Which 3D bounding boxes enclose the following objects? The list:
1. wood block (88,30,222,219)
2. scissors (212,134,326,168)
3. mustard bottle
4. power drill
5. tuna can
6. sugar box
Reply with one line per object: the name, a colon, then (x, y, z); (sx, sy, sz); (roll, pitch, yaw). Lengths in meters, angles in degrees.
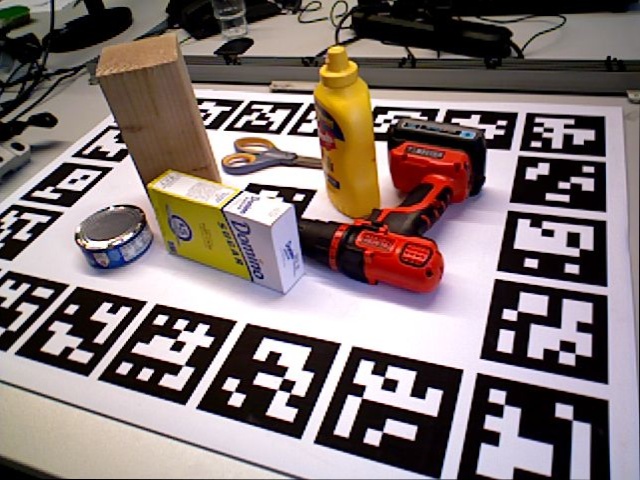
wood block: (-0.188, -0.128, 0.657); (0.090, 0.210, 0.088); (-13, 43, -1)
scissors: (-0.069, -0.122, 0.749); (0.204, 0.016, 0.085); (8, 42, 22)
mustard bottle: (0.030, -0.124, 0.607); (0.058, 0.195, 0.095); (-21, 44, -10)
power drill: (0.066, -0.041, 0.597); (0.185, 0.058, 0.183); (18, 57, 30)
tuna can: (-0.251, -0.006, 0.652); (0.086, 0.034, 0.084); (-7, 43, 6)
sugar box: (-0.097, -0.011, 0.582); (0.177, 0.095, 0.044); (18, 46, 27)
